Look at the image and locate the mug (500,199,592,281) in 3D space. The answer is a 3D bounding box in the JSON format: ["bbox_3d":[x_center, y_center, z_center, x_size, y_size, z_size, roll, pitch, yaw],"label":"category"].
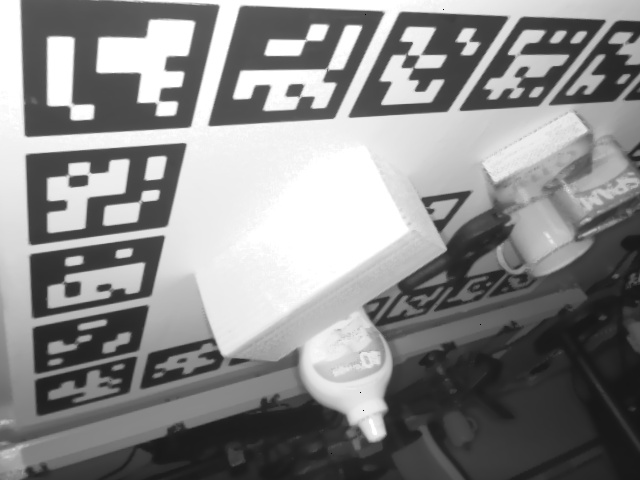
[{"bbox_3d":[0.264,-0.003,0.841,0.094,0.081,0.115,13,130,-45],"label":"mug"}]

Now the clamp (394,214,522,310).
[{"bbox_3d":[0.177,0.027,0.832,0.123,0.036,0.163,11,131,-42],"label":"clamp"}]

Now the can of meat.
[{"bbox_3d":[0.317,-0.050,0.757,0.102,0.084,0.057,-24,147,-3],"label":"can of meat"}]

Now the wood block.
[{"bbox_3d":[-0.009,0.008,0.623,0.204,0.091,0.090,-34,149,16],"label":"wood block"}]

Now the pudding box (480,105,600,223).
[{"bbox_3d":[0.226,-0.076,0.710,0.113,0.039,0.090,-28,147,6],"label":"pudding box"}]

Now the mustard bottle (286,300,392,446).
[{"bbox_3d":[0.017,0.112,0.685,0.097,0.191,0.057,-10,144,-24],"label":"mustard bottle"}]
